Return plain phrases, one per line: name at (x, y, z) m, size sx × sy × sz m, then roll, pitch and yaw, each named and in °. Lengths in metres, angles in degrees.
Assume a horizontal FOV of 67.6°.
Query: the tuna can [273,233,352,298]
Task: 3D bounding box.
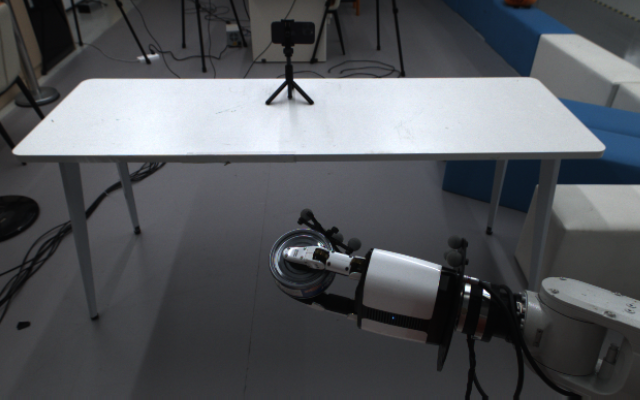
tuna can at (-0.018, 0.086, 0.617) m, size 0.085 × 0.034 × 0.085 m, roll -4°, pitch 57°, yaw 6°
